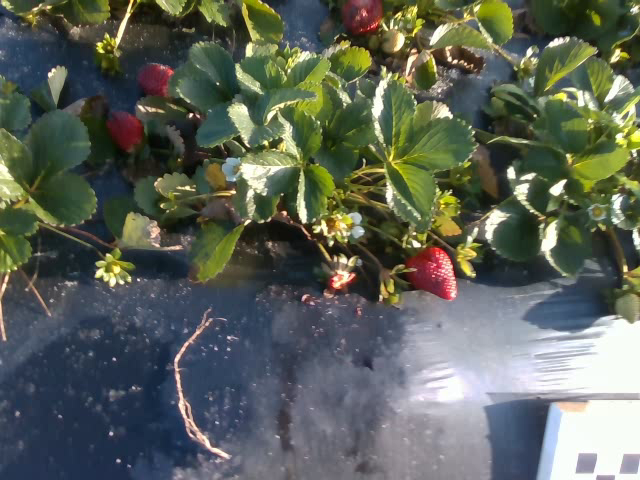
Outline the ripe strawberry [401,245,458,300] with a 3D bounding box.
[{"bbox_3d":[0.106,0.034,0.591,0.052,0.052,0.041,-25,-41,-7],"label":"ripe strawberry"}]
